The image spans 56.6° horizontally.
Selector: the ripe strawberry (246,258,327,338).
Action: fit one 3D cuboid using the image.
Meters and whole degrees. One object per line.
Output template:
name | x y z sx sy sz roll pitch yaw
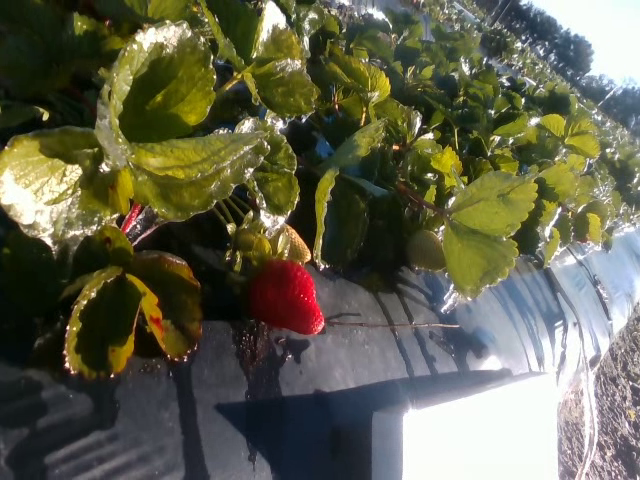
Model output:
ripe strawberry | -0.009 0.028 0.241 0.039 0.040 0.039 -6 28 -42
